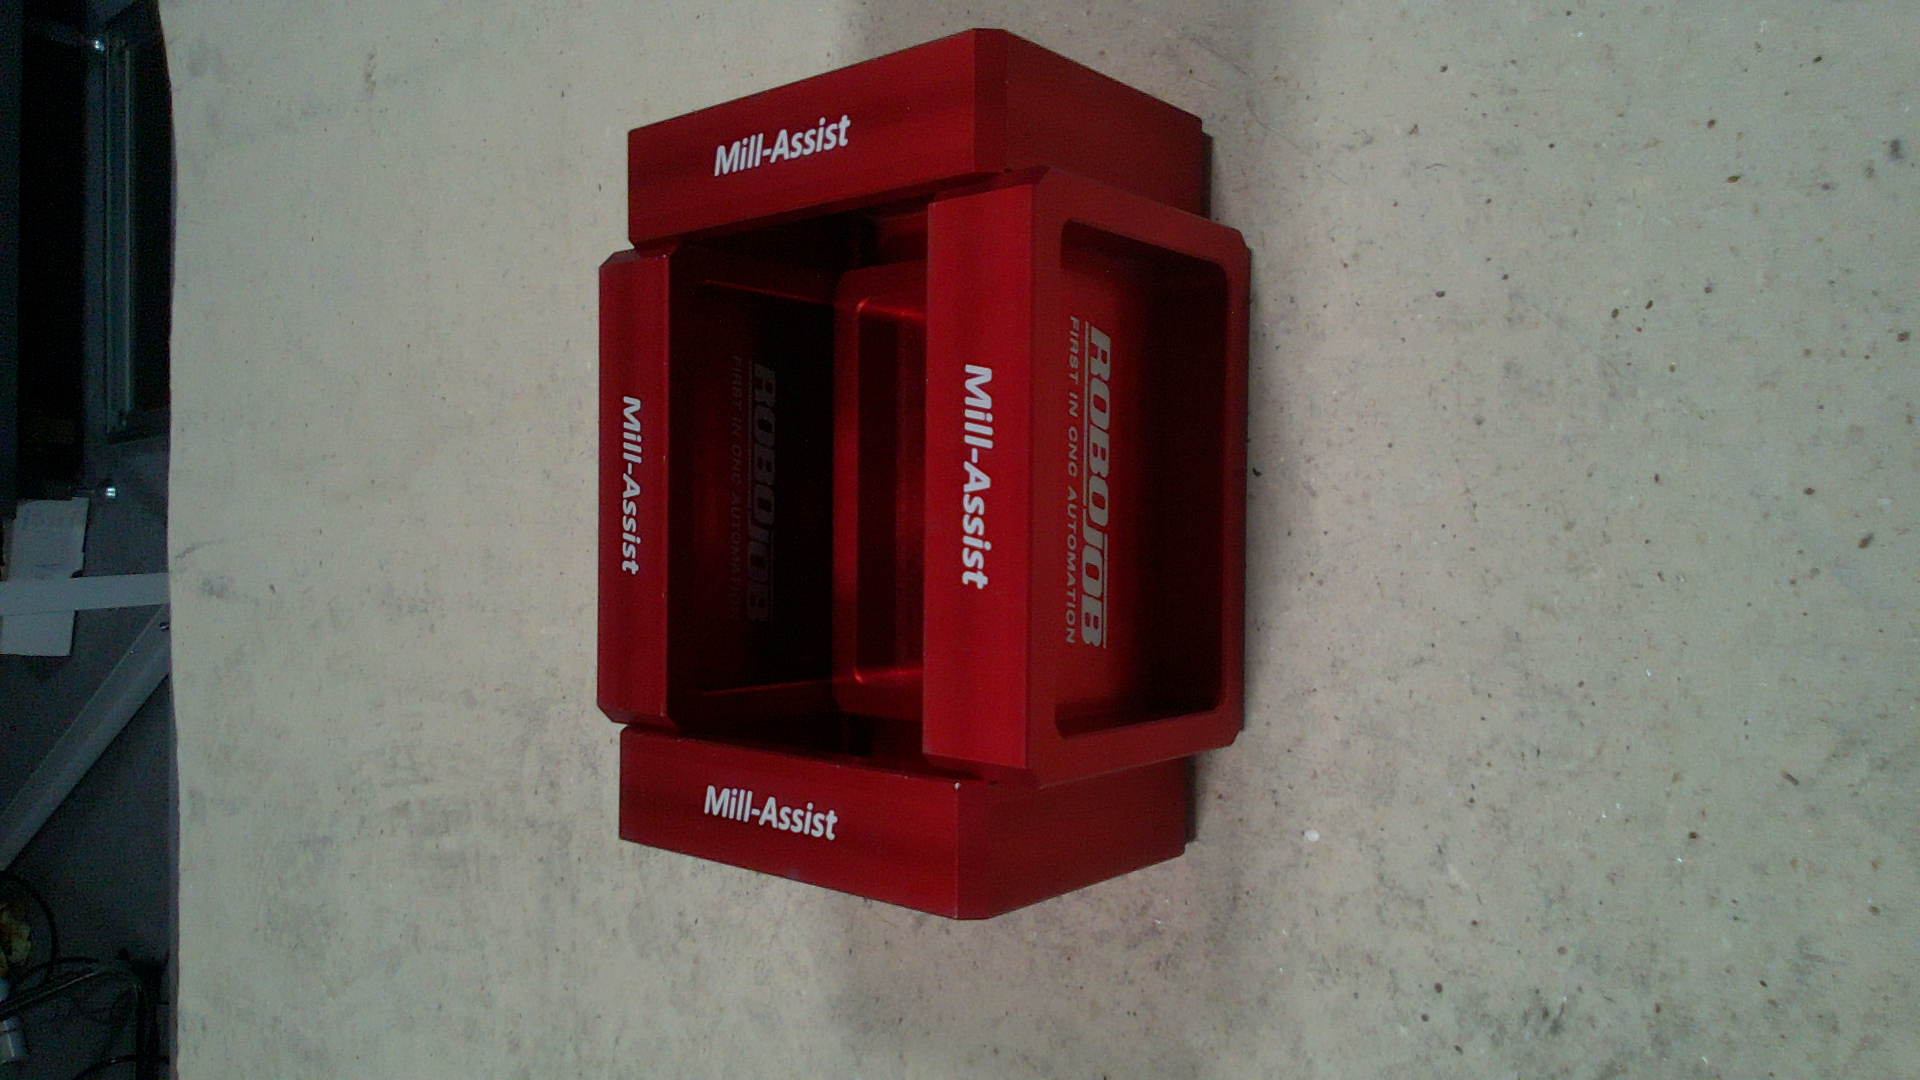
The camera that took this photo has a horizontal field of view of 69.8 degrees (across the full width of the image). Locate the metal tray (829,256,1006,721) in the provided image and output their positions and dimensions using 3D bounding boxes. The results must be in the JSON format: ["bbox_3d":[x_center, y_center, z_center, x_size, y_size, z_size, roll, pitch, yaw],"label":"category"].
[{"bbox_3d":[0.005,-0.014,0.387,0.090,0.030,0.130,1,91,40],"label":"metal tray"}]

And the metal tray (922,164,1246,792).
[{"bbox_3d":[0.032,-0.013,0.325,0.030,0.090,0.130,1,91,40],"label":"metal tray"}]

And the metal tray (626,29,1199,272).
[{"bbox_3d":[-0.014,-0.094,0.363,0.129,0.090,0.030,1,91,40],"label":"metal tray"}]

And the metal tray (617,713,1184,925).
[{"bbox_3d":[-0.017,0.067,0.366,0.129,0.090,0.030,1,91,40],"label":"metal tray"}]

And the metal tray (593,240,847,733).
[{"bbox_3d":[-0.060,-0.014,0.402,0.030,0.090,0.130,1,91,40],"label":"metal tray"}]
